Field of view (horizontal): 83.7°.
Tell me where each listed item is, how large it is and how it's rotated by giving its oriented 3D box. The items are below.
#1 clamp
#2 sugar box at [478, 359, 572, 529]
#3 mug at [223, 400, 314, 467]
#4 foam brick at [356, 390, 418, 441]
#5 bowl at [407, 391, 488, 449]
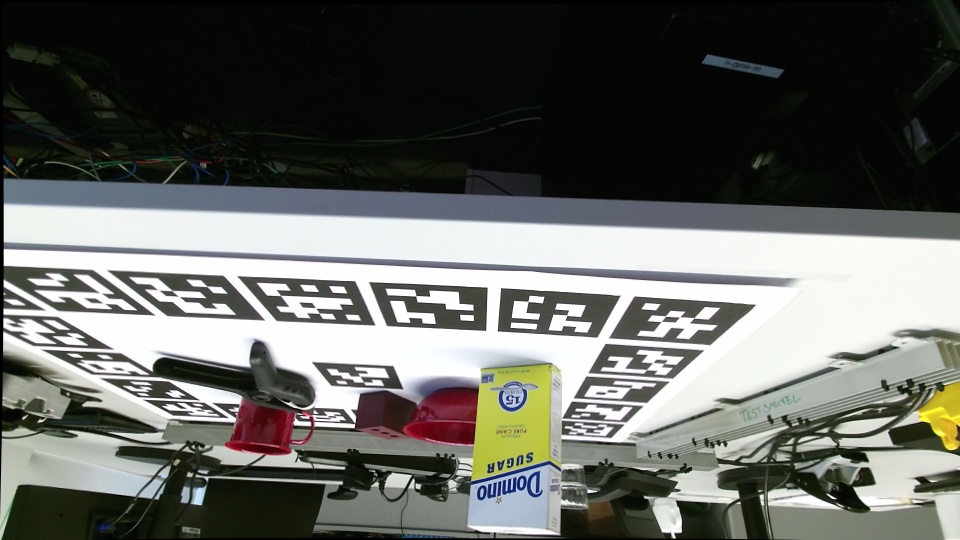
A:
[{"bbox_3d":[-0.272,0.156,0.694,0.166,0.036,0.203,-13,143,20],"label":"clamp"},{"bbox_3d":[0.052,0.191,0.599,0.093,0.175,0.045,-11,142,24],"label":"sugar box"},{"bbox_3d":[-0.305,0.240,0.792,0.117,0.081,0.093,20,144,-17],"label":"mug"},{"bbox_3d":[-0.134,0.214,0.777,0.053,0.051,0.078,-14,142,24],"label":"foam brick"},{"bbox_3d":[-0.017,0.211,0.746,0.162,0.055,0.162,3,147,2],"label":"bowl"}]
